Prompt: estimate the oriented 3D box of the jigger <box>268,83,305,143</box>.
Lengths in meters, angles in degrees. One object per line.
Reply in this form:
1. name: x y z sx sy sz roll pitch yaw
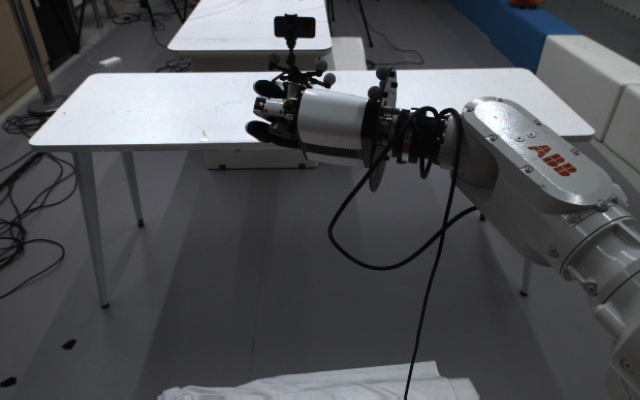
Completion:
1. jigger: -0.039 -0.120 0.657 0.043 0.071 0.043 15 -7 2
